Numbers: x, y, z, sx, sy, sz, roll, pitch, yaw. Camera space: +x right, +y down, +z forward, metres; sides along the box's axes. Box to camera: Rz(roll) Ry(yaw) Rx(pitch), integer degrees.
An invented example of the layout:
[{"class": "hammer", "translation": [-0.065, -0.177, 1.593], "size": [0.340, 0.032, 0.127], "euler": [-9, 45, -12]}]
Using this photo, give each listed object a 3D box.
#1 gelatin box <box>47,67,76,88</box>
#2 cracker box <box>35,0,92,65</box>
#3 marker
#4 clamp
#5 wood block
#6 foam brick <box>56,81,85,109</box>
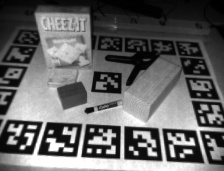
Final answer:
[{"class": "gelatin box", "translation": [-0.170, -0.028, 0.735], "size": [0.089, 0.030, 0.073], "euler": [2, 52, -3]}, {"class": "cracker box", "translation": [-0.149, -0.167, 0.724], "size": [0.165, 0.214, 0.071], "euler": [0, 49, -5]}, {"class": "marker", "translation": [-0.043, 0.064, 0.669], "size": [0.122, 0.020, 0.019], "euler": [-13, 54, -15]}, {"class": "clamp", "translation": [0.087, -0.099, 0.807], "size": [0.204, 0.037, 0.163], "euler": [-22, 56, -21]}, {"class": "wood block", "translation": [0.122, 0.002, 0.695], "size": [0.089, 0.091, 0.207], "euler": [29, 51, 23]}, {"class": "foam brick", "translation": [-0.131, 0.028, 0.674], "size": [0.078, 0.051, 0.052], "euler": [-17, 55, -17]}]
